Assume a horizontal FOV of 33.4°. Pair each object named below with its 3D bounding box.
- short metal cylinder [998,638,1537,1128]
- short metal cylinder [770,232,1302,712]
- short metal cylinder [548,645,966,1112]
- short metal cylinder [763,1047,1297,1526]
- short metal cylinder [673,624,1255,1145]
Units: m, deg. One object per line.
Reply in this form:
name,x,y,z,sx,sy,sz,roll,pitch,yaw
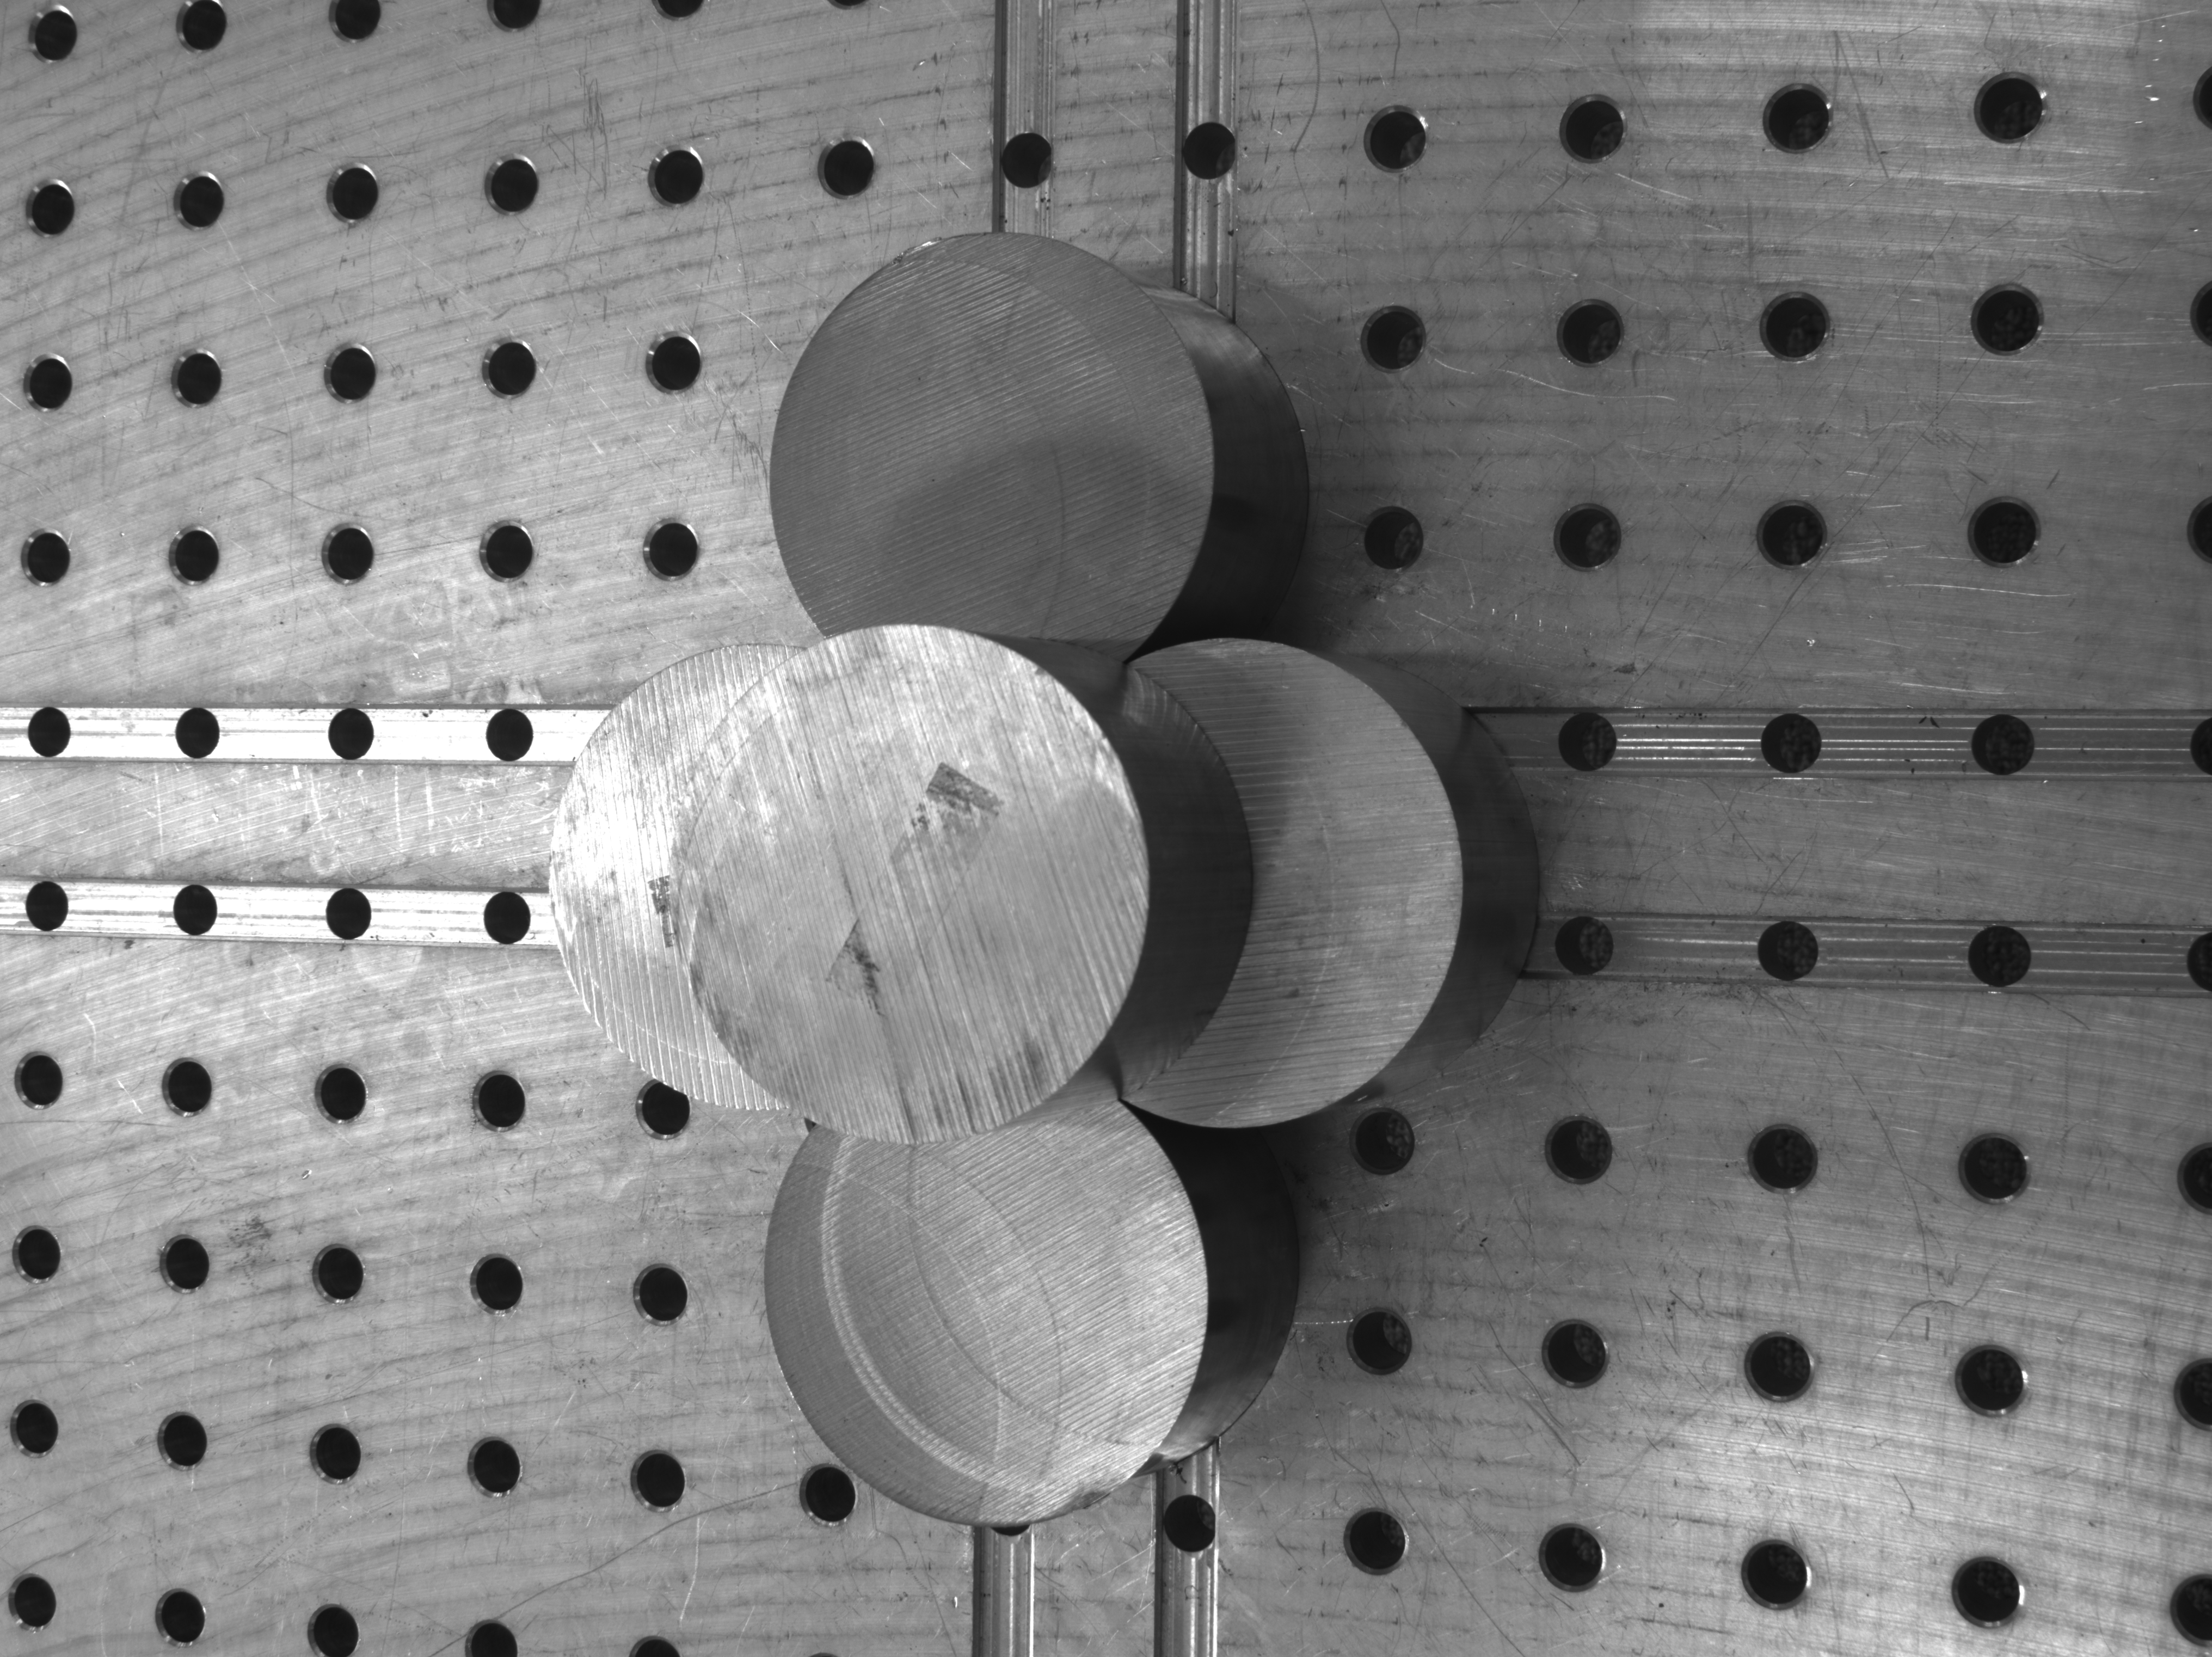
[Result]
short metal cylinder,0.028,0.009,0.625,0.080,0.050,0.080,0,90,20
short metal cylinder,-0.011,-0.060,0.640,0.080,0.050,0.080,0,90,19
short metal cylinder,-0.051,0.009,0.654,0.080,0.050,0.080,0,90,20
short metal cylinder,-0.012,0.077,0.640,0.080,0.050,0.080,-1,87,20
short metal cylinder,-0.022,0.009,0.590,0.080,0.050,0.080,0,90,20
